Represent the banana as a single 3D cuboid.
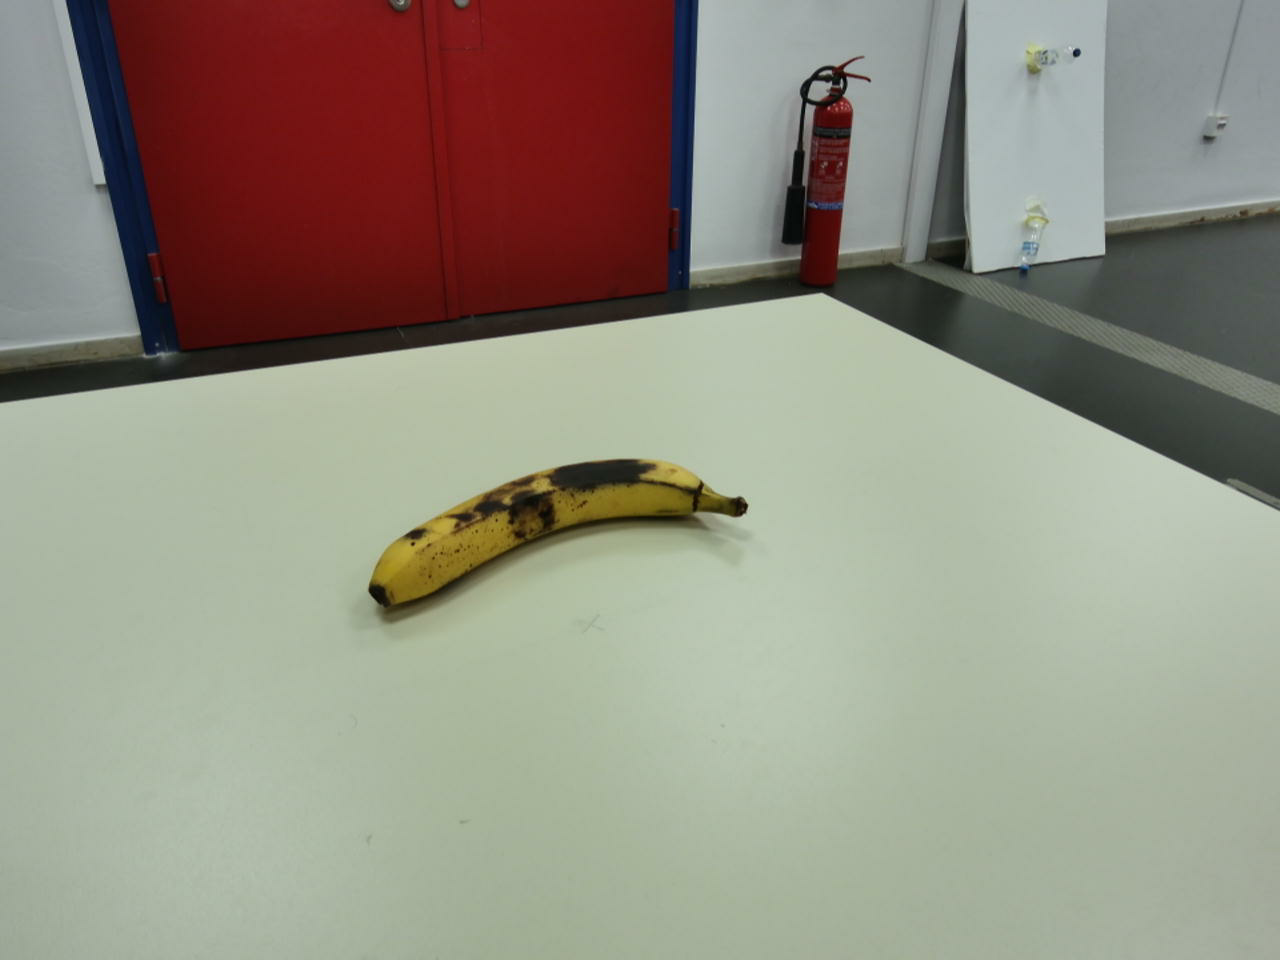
[{"bbox_3d":[-0.052,0.022,0.580,0.222,0.037,0.084,-11,28,-22],"label":"banana"}]
